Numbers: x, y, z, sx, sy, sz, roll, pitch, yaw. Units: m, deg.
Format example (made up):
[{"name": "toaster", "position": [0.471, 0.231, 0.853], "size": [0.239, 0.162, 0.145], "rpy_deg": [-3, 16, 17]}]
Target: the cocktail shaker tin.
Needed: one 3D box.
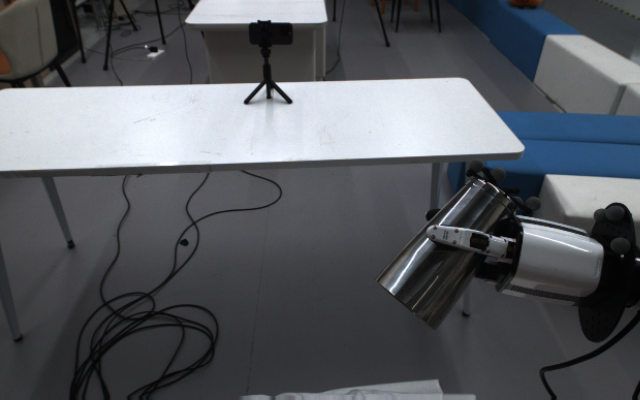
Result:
[{"name": "cocktail shaker tin", "position": [0.156, 0.055, 0.579], "size": [0.170, 0.093, 0.093], "rpy_deg": [-48, 49, -3]}]
